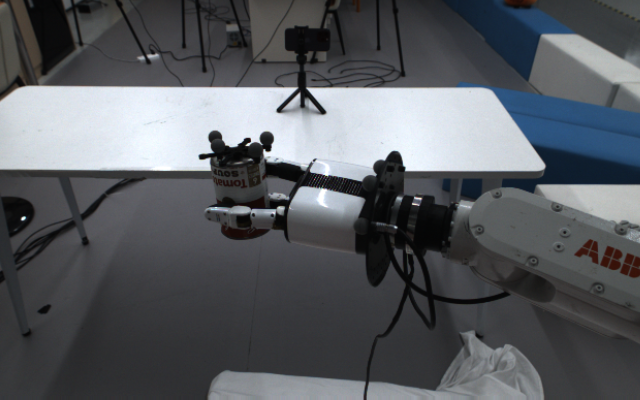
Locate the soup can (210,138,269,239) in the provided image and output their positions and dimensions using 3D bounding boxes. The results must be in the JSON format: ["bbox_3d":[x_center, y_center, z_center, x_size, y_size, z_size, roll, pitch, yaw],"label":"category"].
[{"bbox_3d":[-0.098,-0.010,0.616,0.067,0.101,0.067,-3,27,2],"label":"soup can"}]
